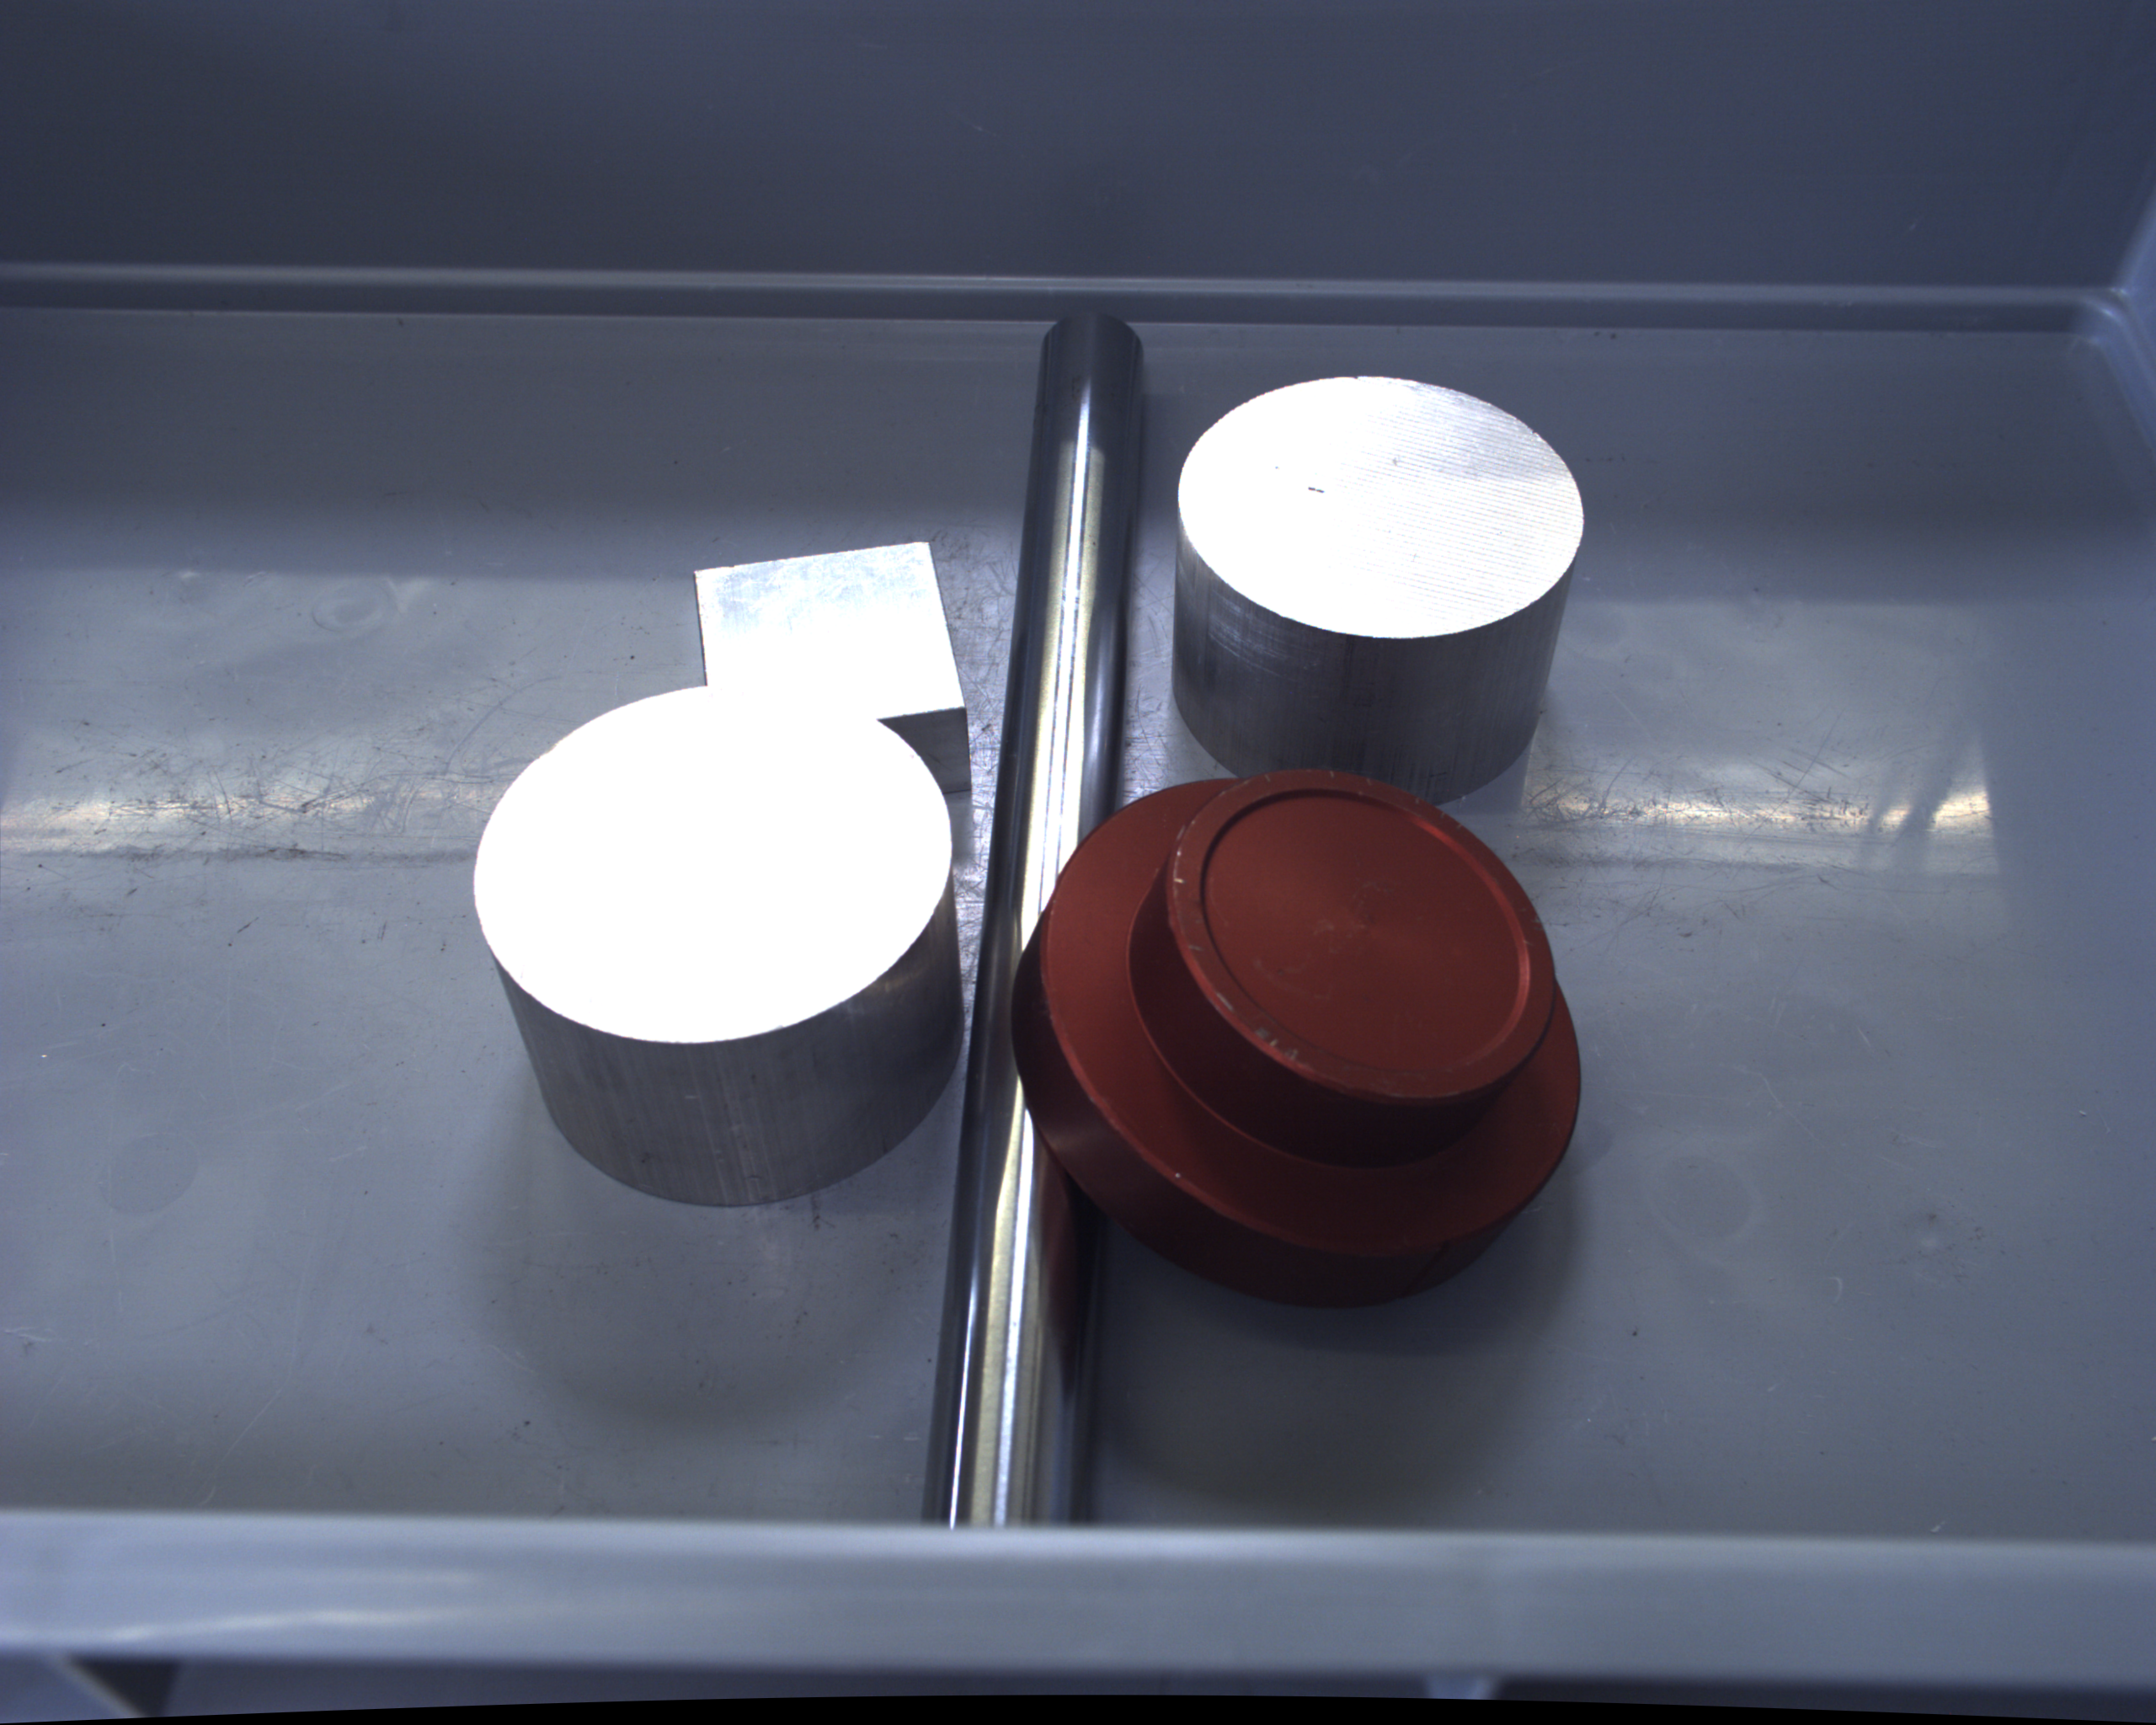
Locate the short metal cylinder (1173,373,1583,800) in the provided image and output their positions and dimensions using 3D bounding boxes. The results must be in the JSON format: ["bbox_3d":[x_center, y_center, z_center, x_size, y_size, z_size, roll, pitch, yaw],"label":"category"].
[{"bbox_3d":[0.060,-0.057,0.434,0.081,0.050,0.080,0,50,0],"label":"short metal cylinder"}]

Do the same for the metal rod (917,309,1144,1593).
[{"bbox_3d":[-0.004,-0.009,0.410,0.025,0.025,0.300,2,50,2],"label":"metal rod"}]

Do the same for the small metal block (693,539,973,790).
[{"bbox_3d":[-0.051,-0.038,0.434,0.050,0.025,0.050,-9,51,-7],"label":"small metal block"}]

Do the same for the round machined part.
[{"bbox_3d":[0.041,0.023,0.357,0.099,0.042,0.098,11,48,-12],"label":"round machined part"}]

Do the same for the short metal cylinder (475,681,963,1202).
[{"bbox_3d":[-0.062,0.013,0.374,0.081,0.050,0.080,0,50,0],"label":"short metal cylinder"}]
